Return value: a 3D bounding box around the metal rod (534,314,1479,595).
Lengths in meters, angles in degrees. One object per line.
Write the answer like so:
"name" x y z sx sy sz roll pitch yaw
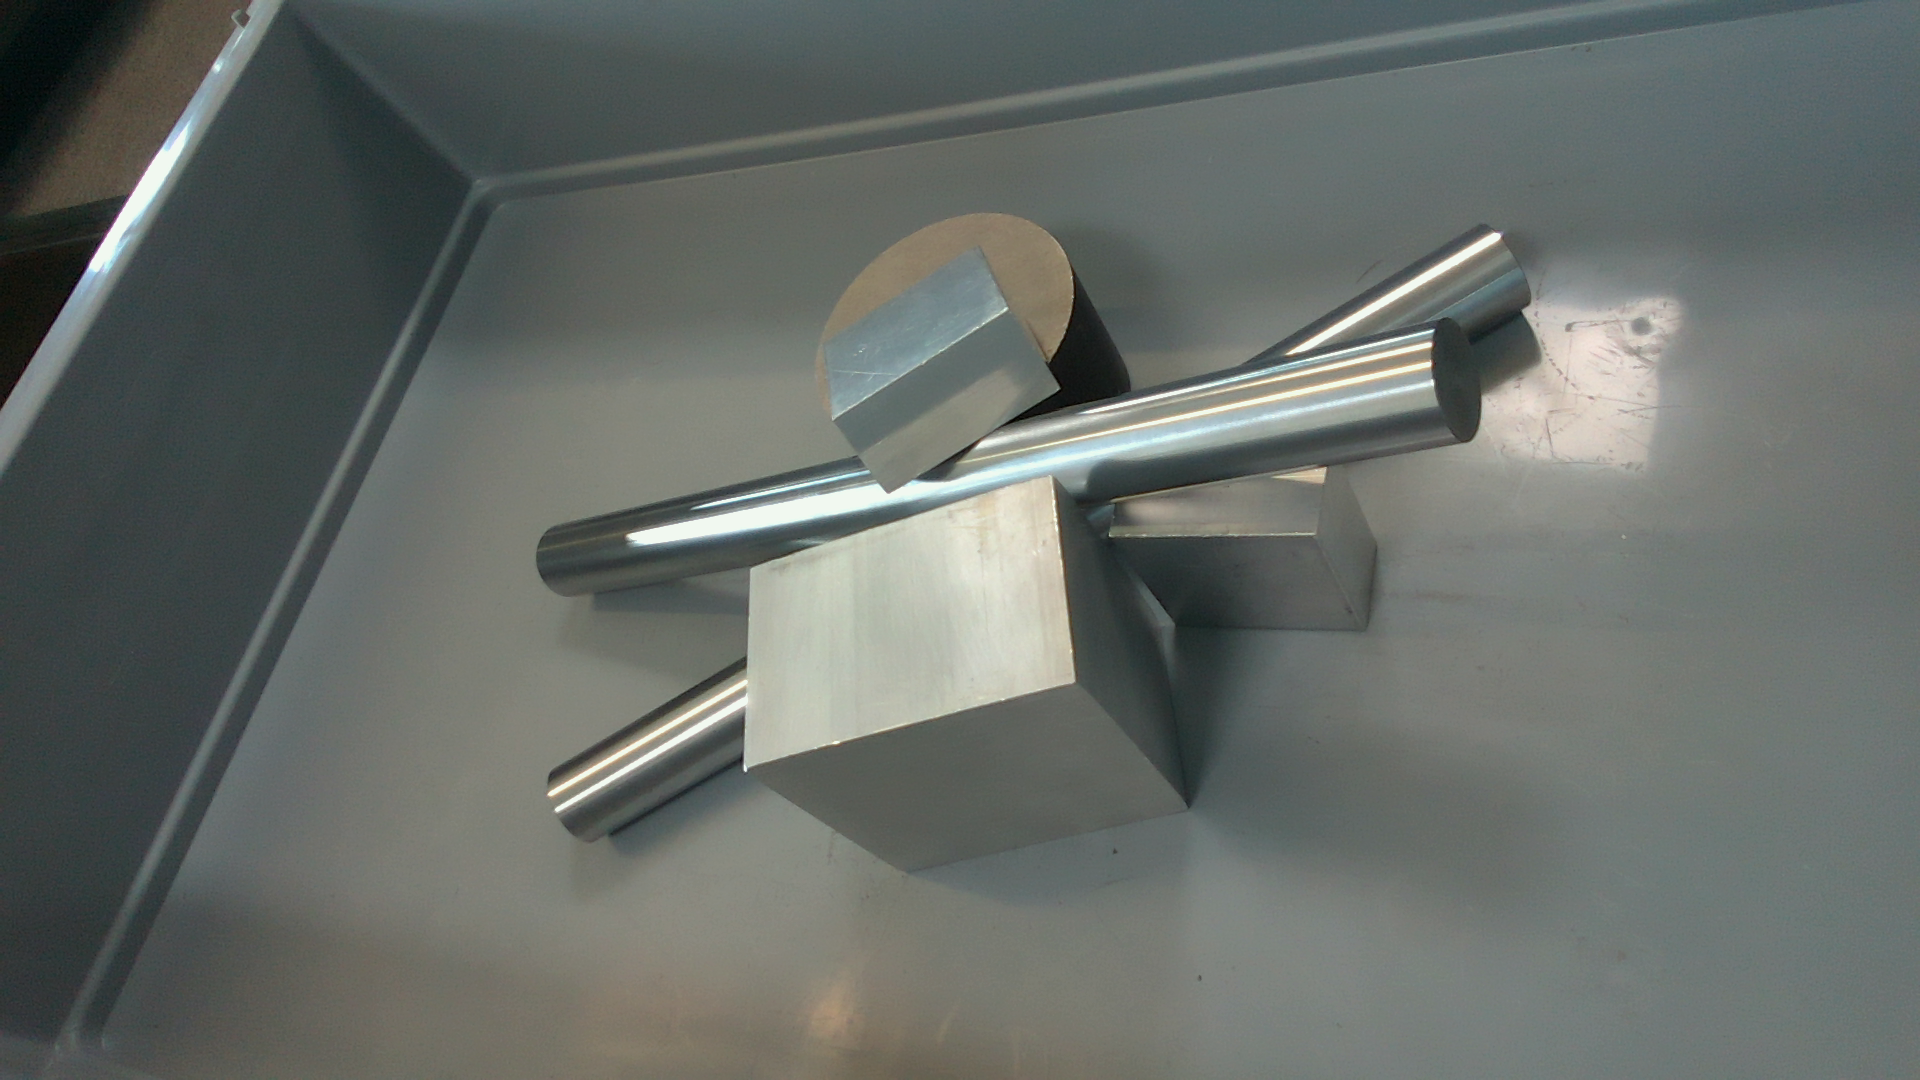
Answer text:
"metal rod" -0.017 -0.013 0.364 0.299 0.025 0.025 -10 56 39

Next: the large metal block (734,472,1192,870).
"large metal block" 0.002 0.036 0.332 0.080 0.080 0.050 -17 55 19

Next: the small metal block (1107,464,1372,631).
"small metal block" 0.071 0.000 0.338 0.050 0.050 0.025 -1 61 29

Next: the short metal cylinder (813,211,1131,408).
"short metal cylinder" 0.004 -0.049 0.404 0.080 0.050 0.080 -14 55 21

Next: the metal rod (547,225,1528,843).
"metal rod" 0.014 0.003 0.384 0.300 0.025 0.025 -30 51 9

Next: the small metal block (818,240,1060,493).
"small metal block" -0.007 -0.045 0.348 0.050 0.025 0.050 -31 29 9
